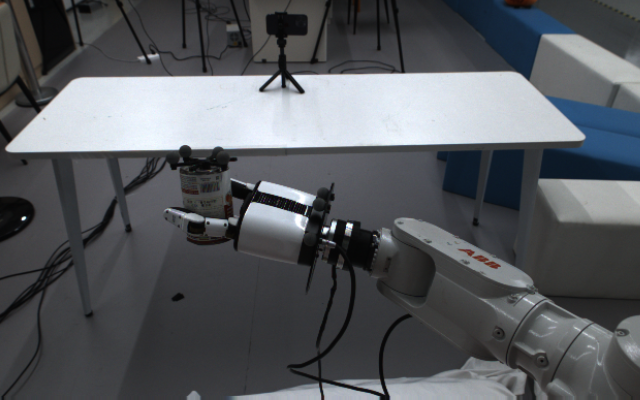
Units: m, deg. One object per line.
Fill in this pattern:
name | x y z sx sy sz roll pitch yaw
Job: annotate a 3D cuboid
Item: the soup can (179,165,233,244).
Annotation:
soup can | -0.152 0.004 0.659 0.067 0.101 0.067 -2 17 0
